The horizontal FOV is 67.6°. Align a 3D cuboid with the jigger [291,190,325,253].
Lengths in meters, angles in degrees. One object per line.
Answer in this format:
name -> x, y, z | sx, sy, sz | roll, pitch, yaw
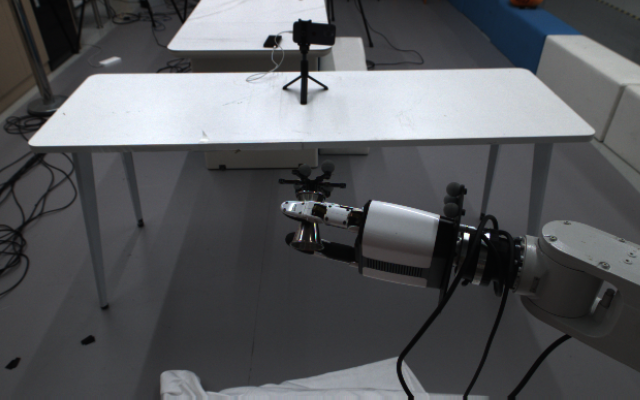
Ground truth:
jigger -> -0.016, 0.026, 0.621 | 0.043, 0.043, 0.071 | 4, 71, 3
